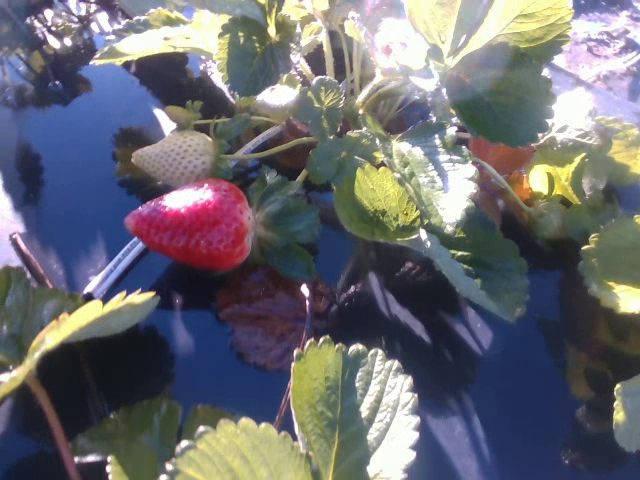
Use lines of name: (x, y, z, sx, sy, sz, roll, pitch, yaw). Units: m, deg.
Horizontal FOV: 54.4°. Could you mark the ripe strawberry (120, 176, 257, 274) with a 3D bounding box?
ripe strawberry: (-0.060, -0.010, 0.309, 0.080, 0.063, 0.040, 1, -14, -30)
